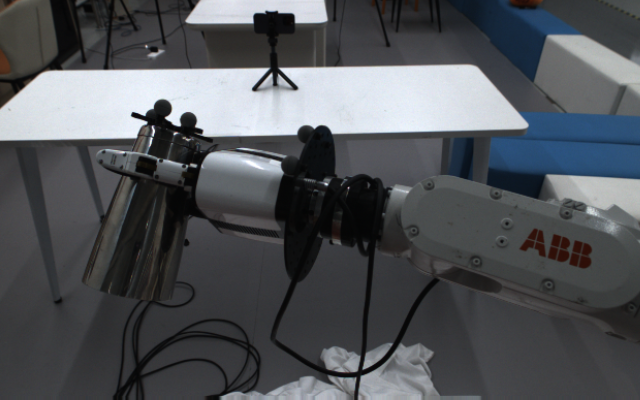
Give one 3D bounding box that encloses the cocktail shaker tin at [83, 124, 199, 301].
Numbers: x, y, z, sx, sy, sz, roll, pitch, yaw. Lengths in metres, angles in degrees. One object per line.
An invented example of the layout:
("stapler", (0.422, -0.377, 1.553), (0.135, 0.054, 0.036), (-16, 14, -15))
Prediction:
("cocktail shaker tin", (-0.180, 0.011, 0.518), (0.093, 0.170, 0.093), (14, -5, 1))
